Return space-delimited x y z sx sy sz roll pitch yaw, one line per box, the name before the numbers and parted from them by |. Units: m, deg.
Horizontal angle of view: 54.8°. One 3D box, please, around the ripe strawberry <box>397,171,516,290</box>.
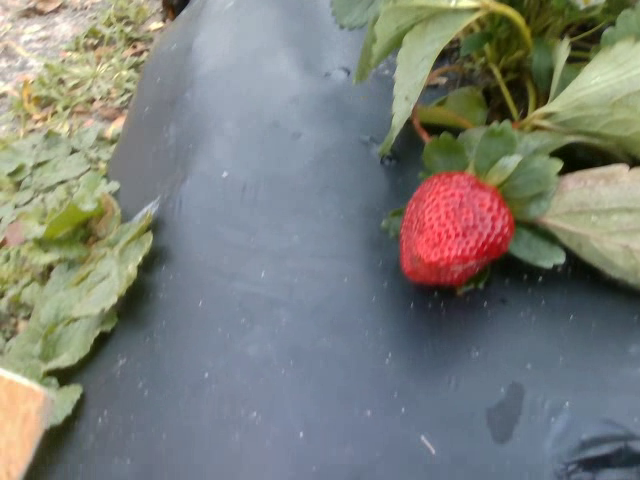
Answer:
ripe strawberry | 0.045 -0.002 0.226 0.046 0.049 0.064 -41 -5 40
